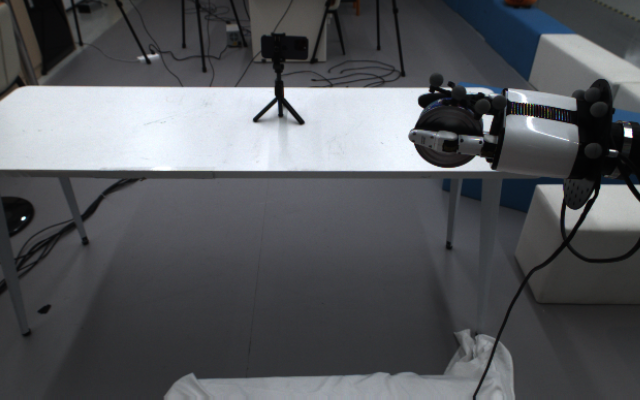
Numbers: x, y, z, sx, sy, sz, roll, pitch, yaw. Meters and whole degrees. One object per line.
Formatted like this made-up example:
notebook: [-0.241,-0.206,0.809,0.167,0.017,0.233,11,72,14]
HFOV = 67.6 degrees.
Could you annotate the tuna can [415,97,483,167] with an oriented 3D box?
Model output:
tuna can: [0.167,-0.088,0.623,0.085,0.085,0.034,12,33,14]
